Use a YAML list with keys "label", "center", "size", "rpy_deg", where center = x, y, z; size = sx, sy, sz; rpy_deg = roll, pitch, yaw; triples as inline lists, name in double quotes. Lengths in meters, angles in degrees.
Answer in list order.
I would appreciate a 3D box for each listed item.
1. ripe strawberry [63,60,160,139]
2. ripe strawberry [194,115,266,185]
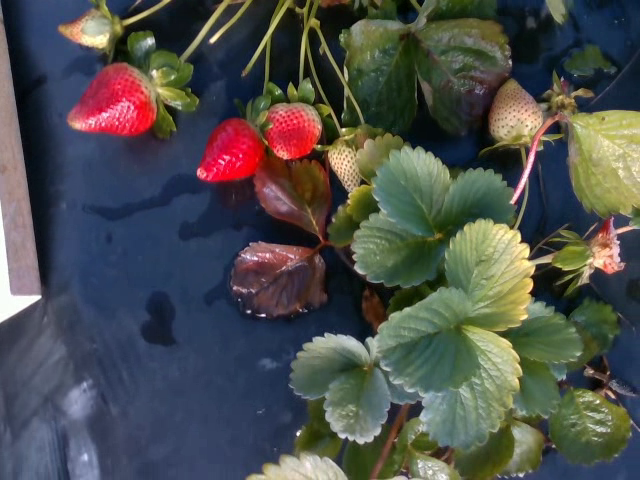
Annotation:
- label: "ripe strawberry"
  center: [-0.138, -0.091, 0.398]
  size: [0.065, 0.050, 0.050]
  rpy_deg: [-29, 47, -29]
- label: "ripe strawberry"
  center: [-0.061, -0.053, 0.385]
  size: [0.044, 0.042, 0.055]
  rpy_deg: [6, 39, 40]
